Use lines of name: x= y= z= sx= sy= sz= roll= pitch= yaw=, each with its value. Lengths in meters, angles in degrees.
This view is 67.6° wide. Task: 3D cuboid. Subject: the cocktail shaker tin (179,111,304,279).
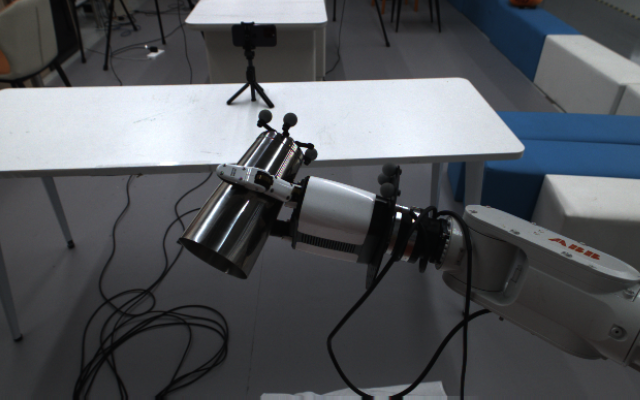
cocktail shaker tin: x=-0.085 y=-0.002 z=0.594 sx=0.093 sy=0.093 sz=0.170 roll=18 pitch=66 yaw=21
